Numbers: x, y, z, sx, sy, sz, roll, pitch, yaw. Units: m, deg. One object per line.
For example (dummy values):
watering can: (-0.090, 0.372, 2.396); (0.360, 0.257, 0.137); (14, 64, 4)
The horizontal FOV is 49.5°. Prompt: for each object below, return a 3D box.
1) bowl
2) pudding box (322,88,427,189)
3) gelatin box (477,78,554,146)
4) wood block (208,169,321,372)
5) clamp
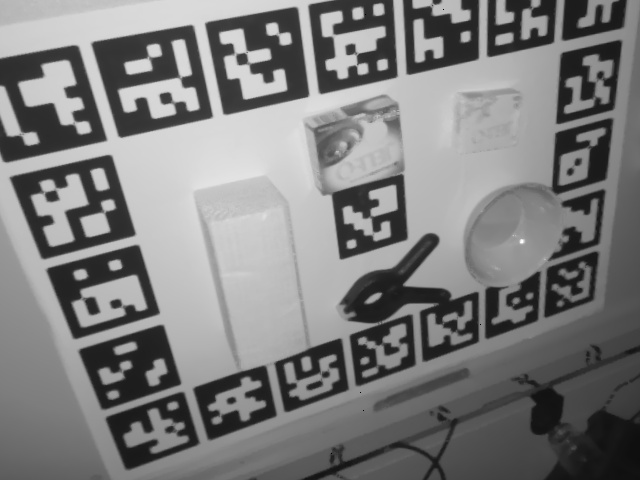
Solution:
bowl: (0.289, -0.015, 0.938); (0.163, 0.055, 0.160); (-8, 115, -16)
pudding box: (0.064, -0.118, 0.802); (0.115, 0.038, 0.089); (-17, 116, -15)
gelatin box: (0.241, -0.158, 0.855); (0.090, 0.030, 0.073); (-9, 116, -17)
wood block: (-0.062, 0.035, 0.798); (0.091, 0.091, 0.205); (-13, 119, -13)
clamp: (0.138, 0.059, 0.929); (0.166, 0.036, 0.121); (-24, 121, -6)
